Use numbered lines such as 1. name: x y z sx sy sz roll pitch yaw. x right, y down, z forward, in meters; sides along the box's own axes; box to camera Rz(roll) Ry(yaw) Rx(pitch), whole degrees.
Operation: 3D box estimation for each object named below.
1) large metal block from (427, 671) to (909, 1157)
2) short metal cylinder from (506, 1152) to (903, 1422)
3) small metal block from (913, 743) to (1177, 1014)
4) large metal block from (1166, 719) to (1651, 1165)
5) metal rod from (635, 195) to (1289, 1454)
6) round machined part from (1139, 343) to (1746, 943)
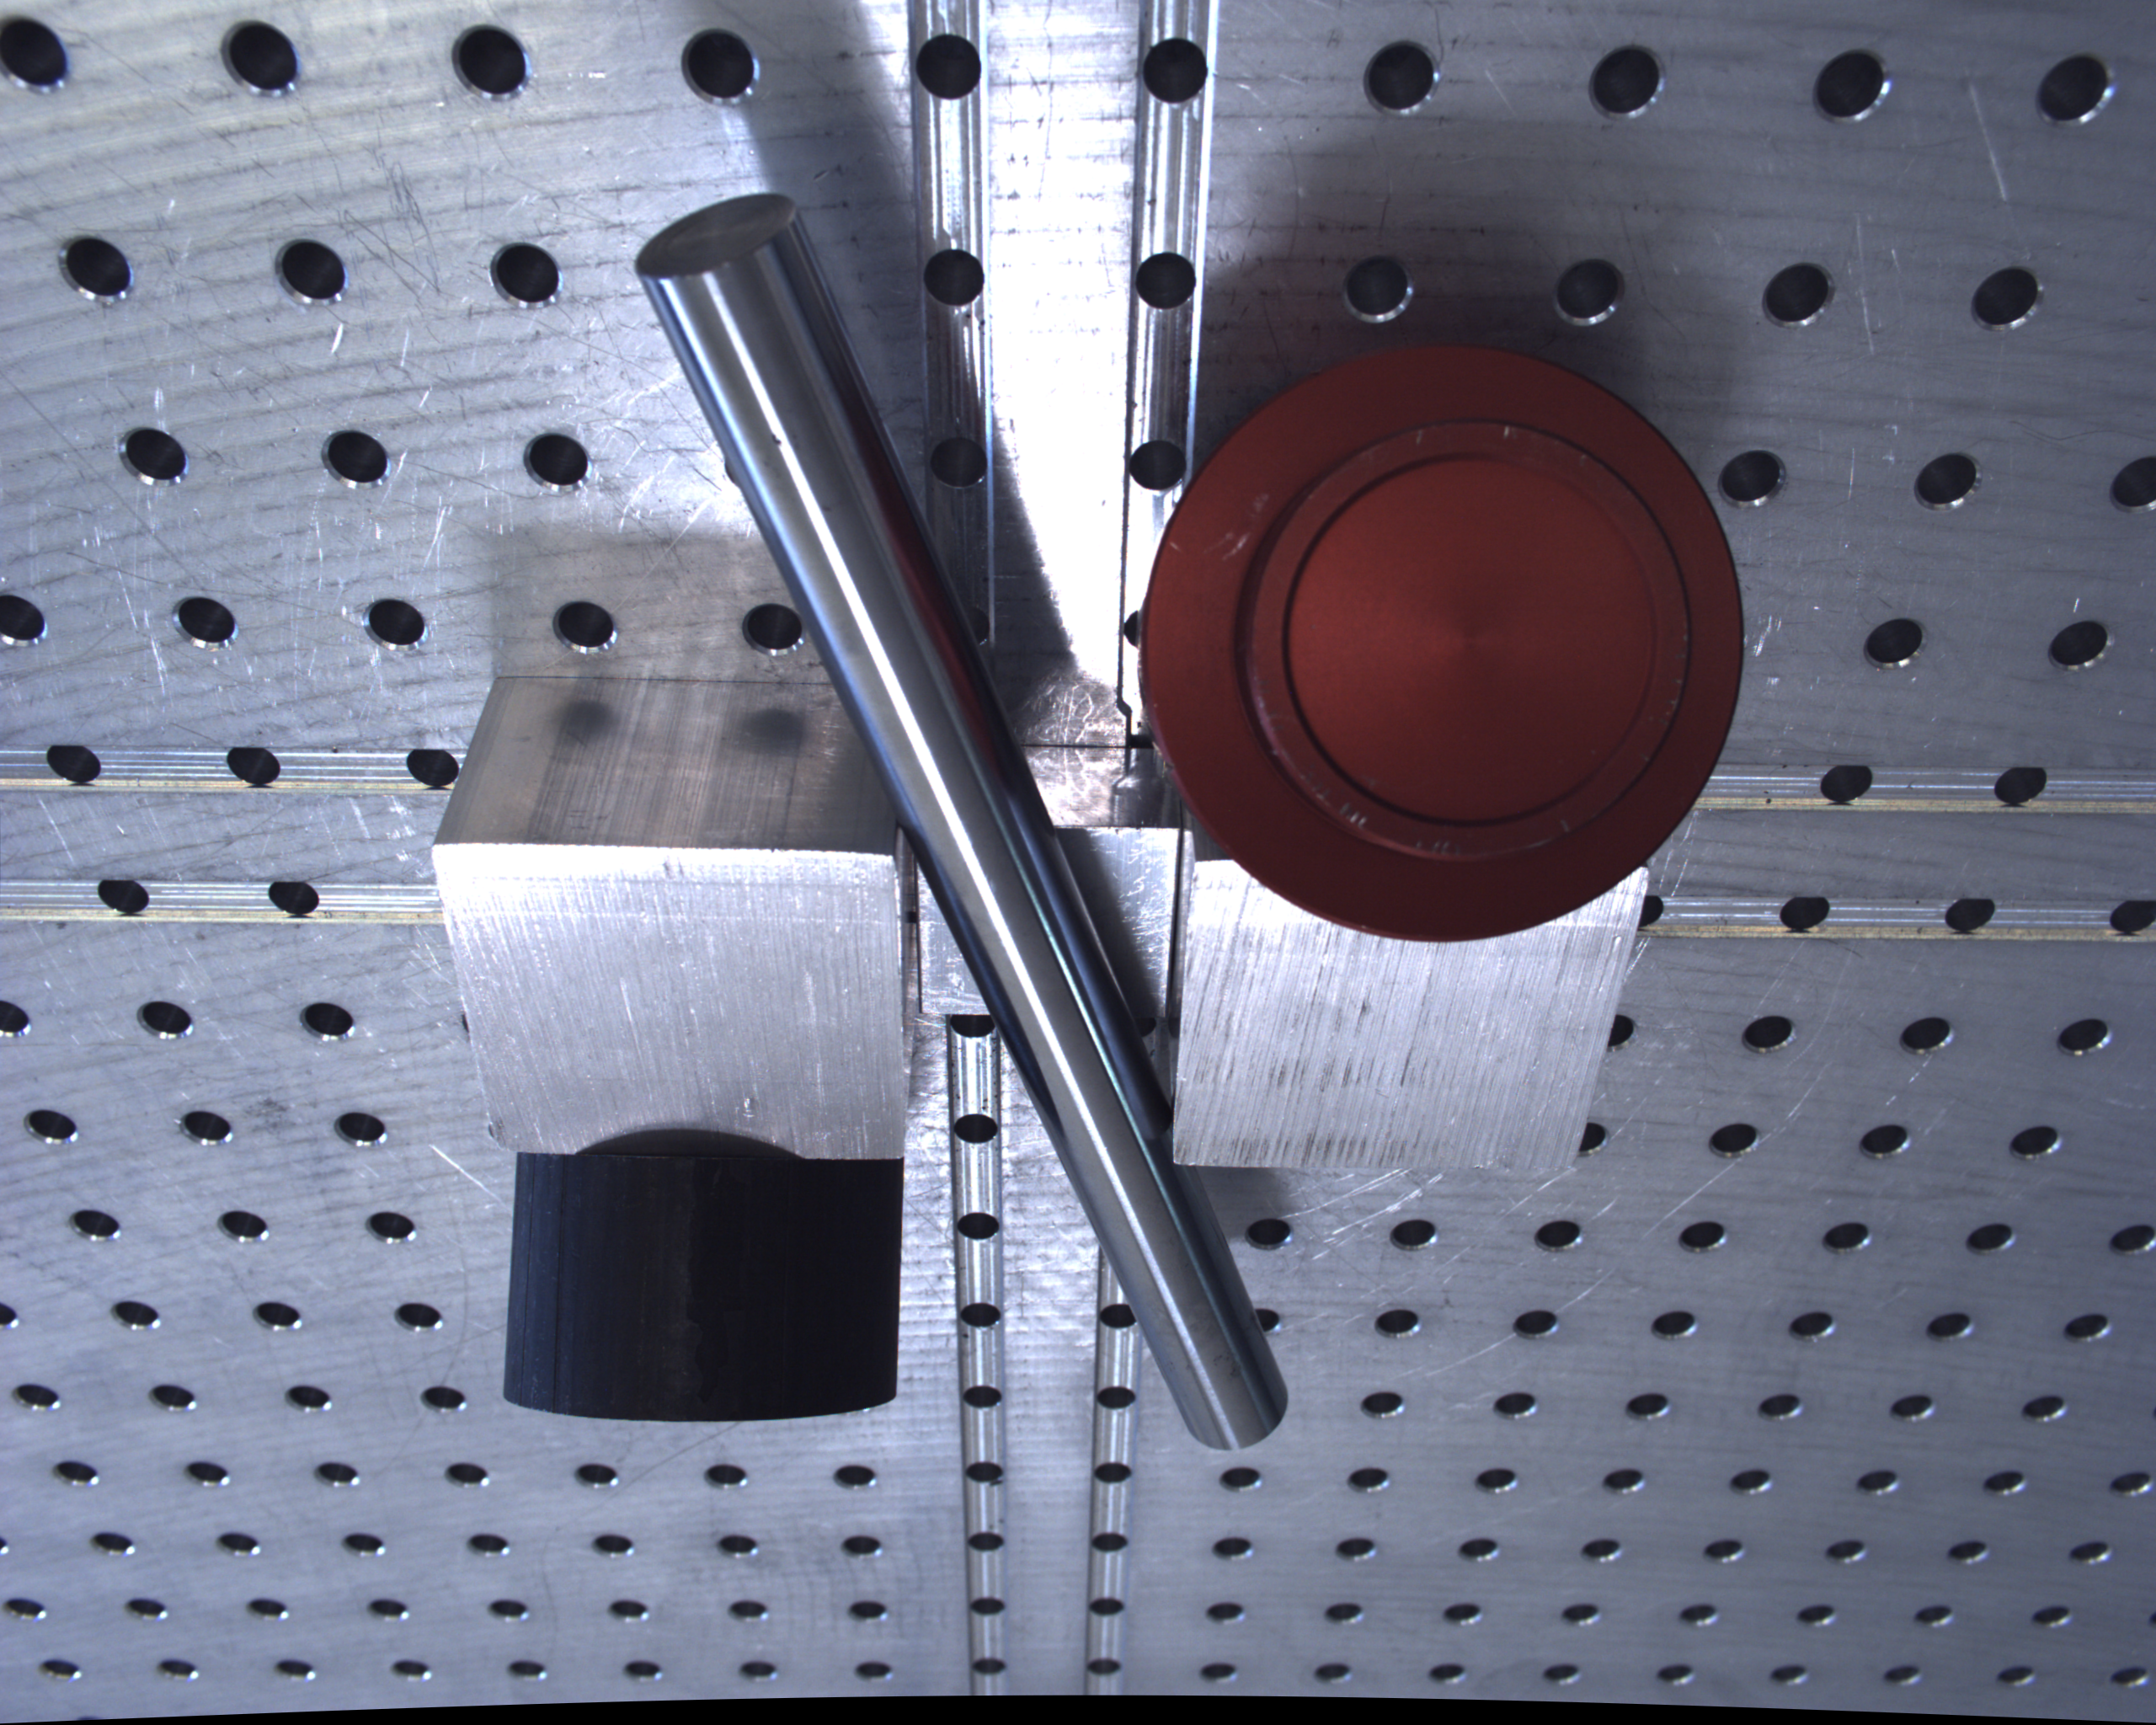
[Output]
1. large metal block: -0.073 0.011 0.405 0.081 0.050 0.079 1 130 -2
2. short metal cylinder: -0.078 0.087 0.440 0.081 0.050 0.080 1 173 0
3. small metal block: -0.006 0.004 0.415 0.050 0.025 0.050 0 130 -1
4. large metal block: 0.059 0.013 0.408 0.081 0.050 0.079 1 130 -1
5. metal rod: -0.008 0.018 0.393 0.025 0.025 0.299 -14 129 11
6. round machined part: 0.060 -0.035 0.339 0.099 0.042 0.097 0 95 -1
